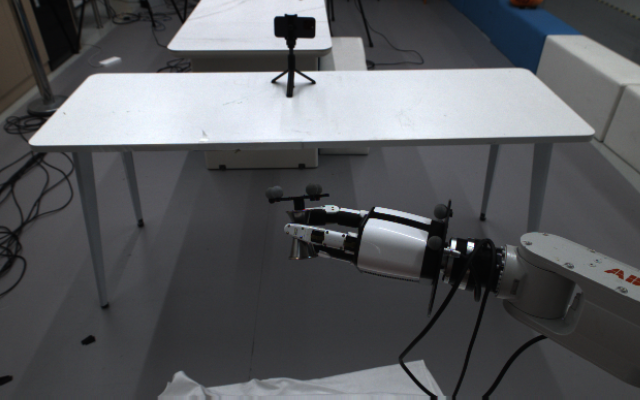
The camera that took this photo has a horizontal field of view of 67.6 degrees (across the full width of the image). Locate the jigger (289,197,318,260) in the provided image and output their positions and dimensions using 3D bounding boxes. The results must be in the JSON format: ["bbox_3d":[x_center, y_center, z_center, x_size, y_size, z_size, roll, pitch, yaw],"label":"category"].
[{"bbox_3d":[-0.027,0.047,0.687,0.043,0.071,0.043,-4,1,0],"label":"jigger"}]
